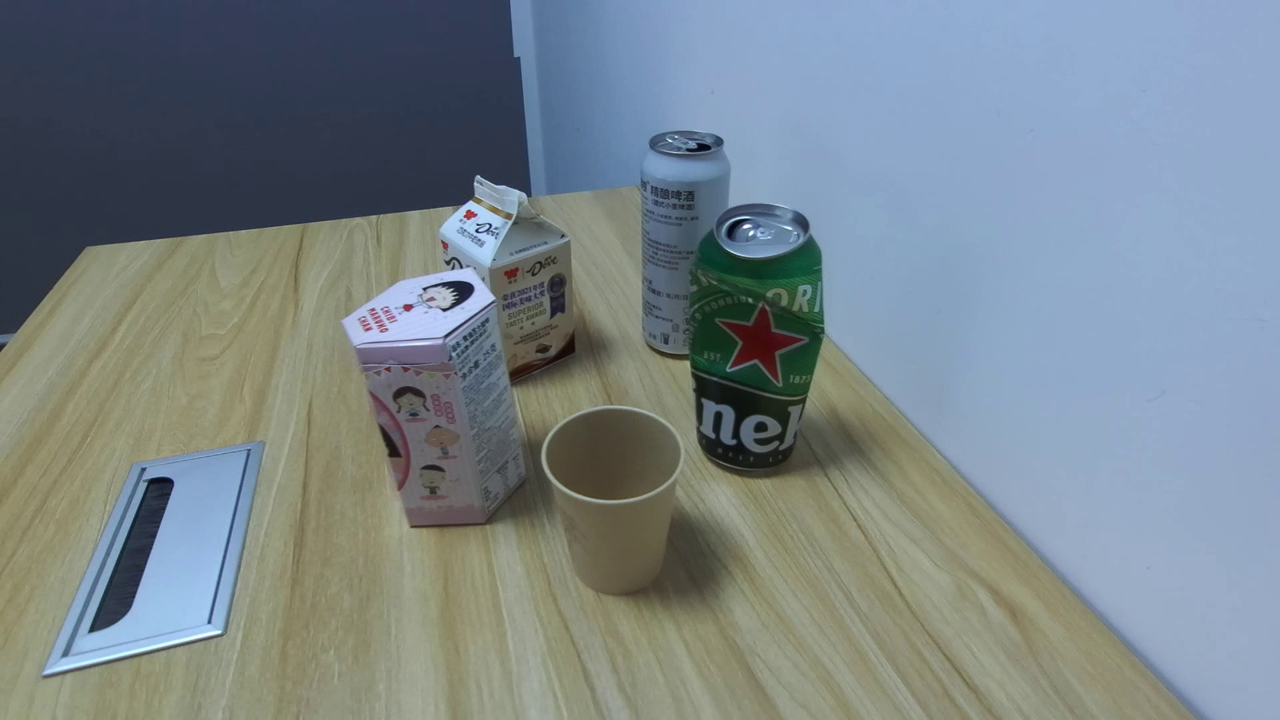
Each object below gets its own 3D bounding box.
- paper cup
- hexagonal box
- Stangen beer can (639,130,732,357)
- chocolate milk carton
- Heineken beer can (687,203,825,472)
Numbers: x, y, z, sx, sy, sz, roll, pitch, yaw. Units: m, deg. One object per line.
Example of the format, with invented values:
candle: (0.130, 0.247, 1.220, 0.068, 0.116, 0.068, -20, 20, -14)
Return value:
paper cup: (-0.014, 0.081, 0.387, 0.075, 0.082, 0.075, 0, 34, 0)
hexagonal box: (-0.118, 0.024, 0.425, 0.085, 0.135, 0.091, -19, 39, -24)
Stangen beer can: (0.035, -0.088, 0.550, 0.067, 0.171, 0.067, 0, 37, 0)
chocolate milk carton: (-0.100, -0.067, 0.543, 0.074, 0.148, 0.075, -26, 44, -32)
Heineken beer can: (0.070, -0.007, 0.436, 0.069, 0.168, 0.068, -13, 37, -14)
